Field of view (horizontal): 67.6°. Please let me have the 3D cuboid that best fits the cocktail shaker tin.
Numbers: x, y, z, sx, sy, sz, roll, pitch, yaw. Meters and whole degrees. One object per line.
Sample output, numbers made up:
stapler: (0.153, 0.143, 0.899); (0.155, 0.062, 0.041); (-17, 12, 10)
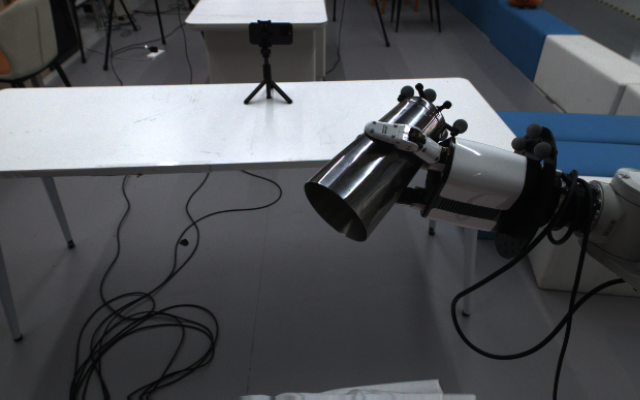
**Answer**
cocktail shaker tin: (0.072, -0.048, 0.565); (0.093, 0.093, 0.170); (32, 66, 35)
